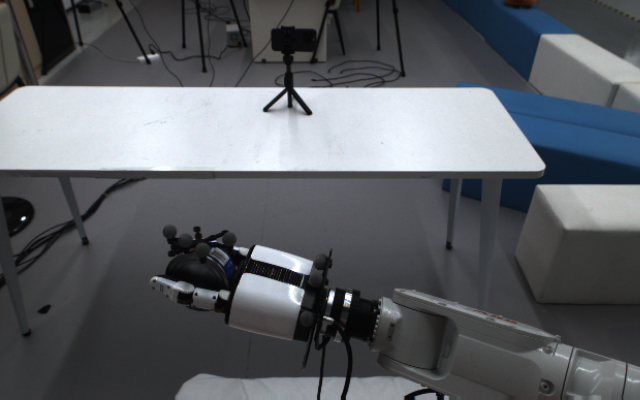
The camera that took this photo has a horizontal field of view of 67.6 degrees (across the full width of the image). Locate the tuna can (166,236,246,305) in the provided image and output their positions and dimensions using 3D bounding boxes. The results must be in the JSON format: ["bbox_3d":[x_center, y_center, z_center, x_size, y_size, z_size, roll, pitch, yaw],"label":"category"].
[{"bbox_3d":[-0.150,0.099,0.624,0.085,0.085,0.034,9,22,9],"label":"tuna can"}]
